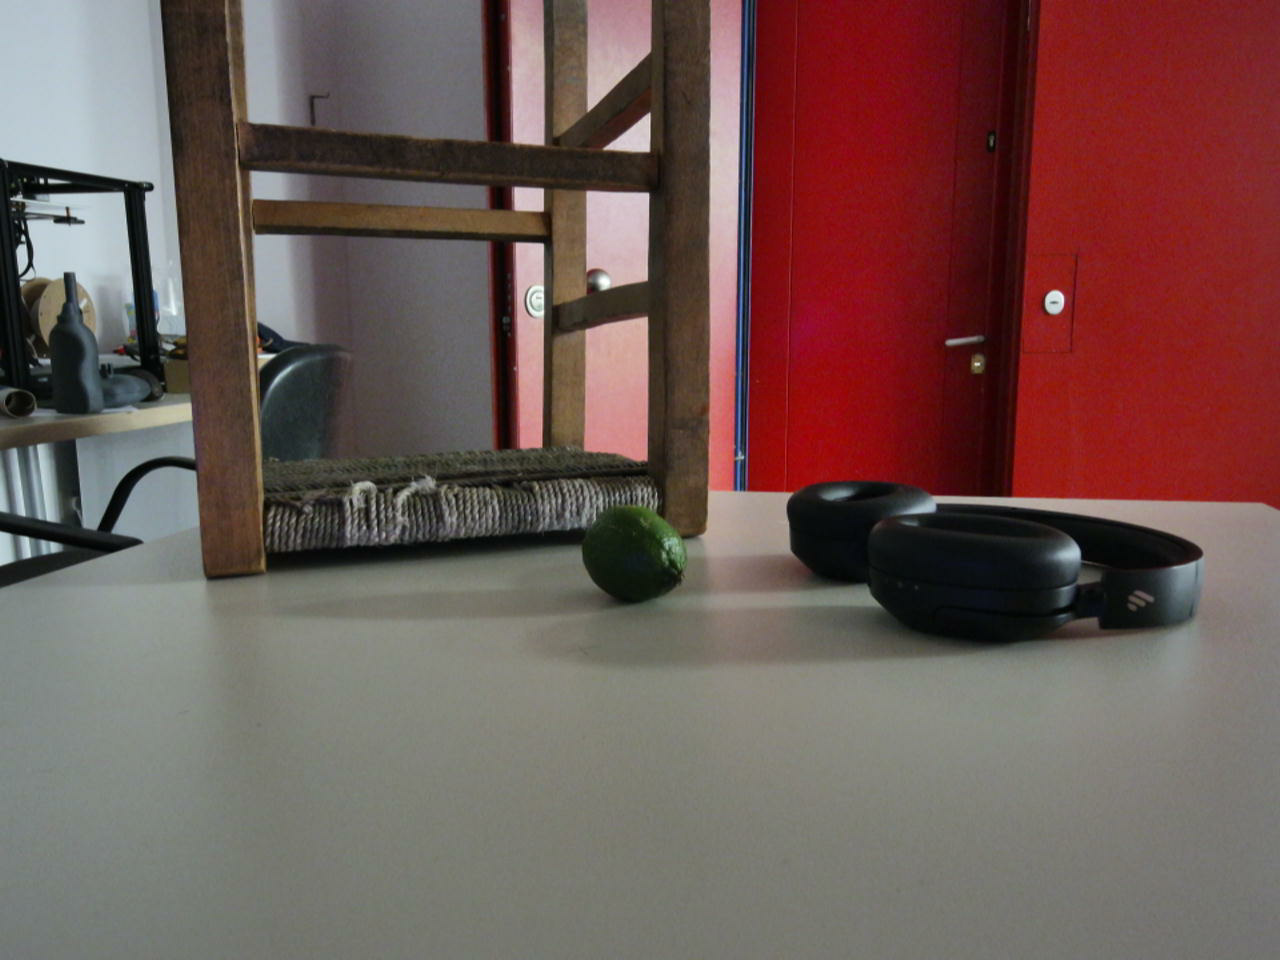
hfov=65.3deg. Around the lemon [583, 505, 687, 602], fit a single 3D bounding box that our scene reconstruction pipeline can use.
[{"bbox_3d":[-0.002,0.039,0.543,0.057,0.051,0.054,0,7,8],"label":"lemon"}]
